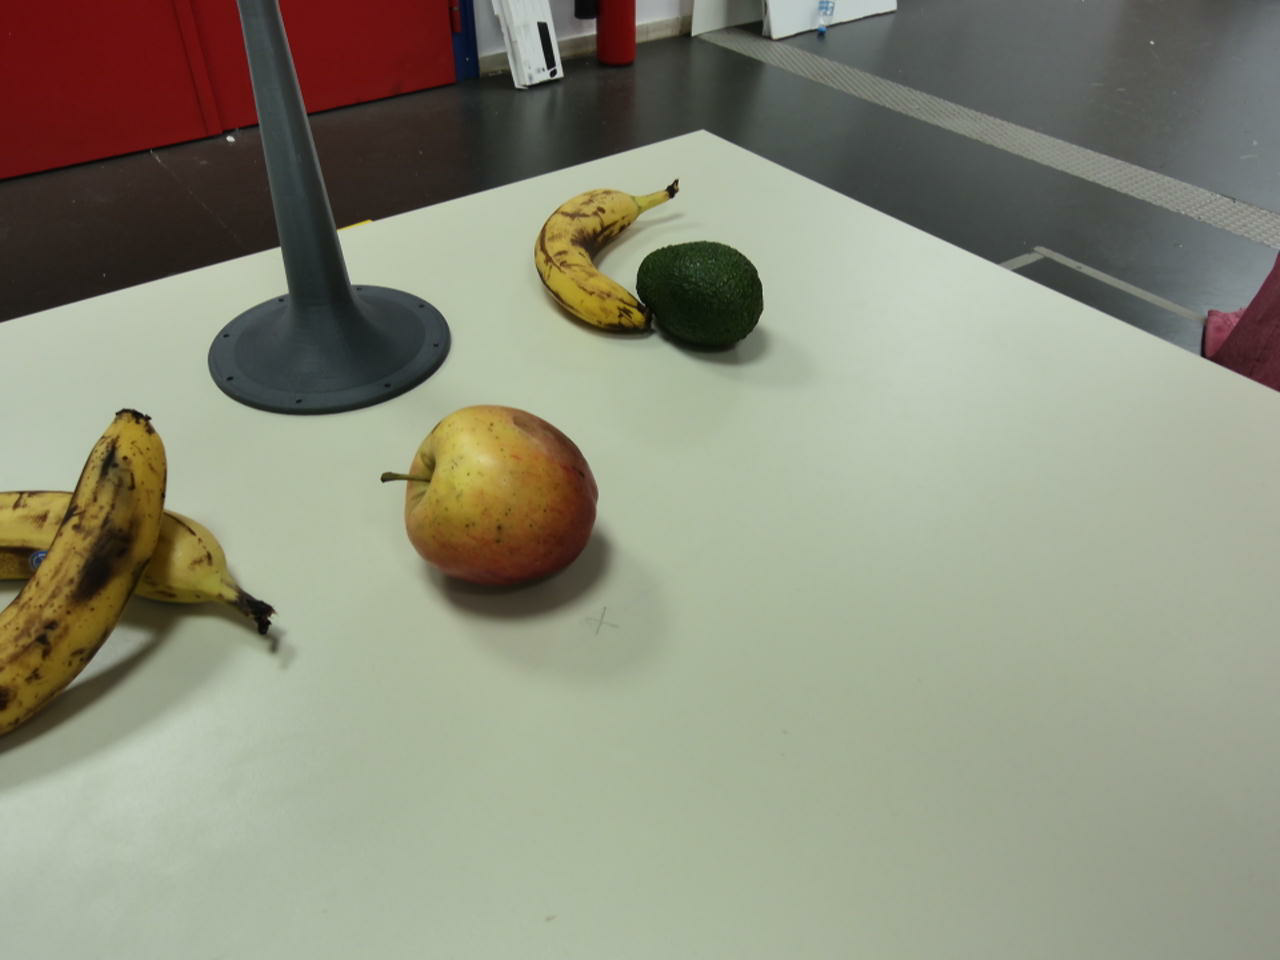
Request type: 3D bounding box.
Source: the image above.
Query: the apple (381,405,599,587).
[{"bbox_3d":[-0.067,0.008,0.472,0.093,0.084,0.086,11,39,12],"label":"apple"}]
